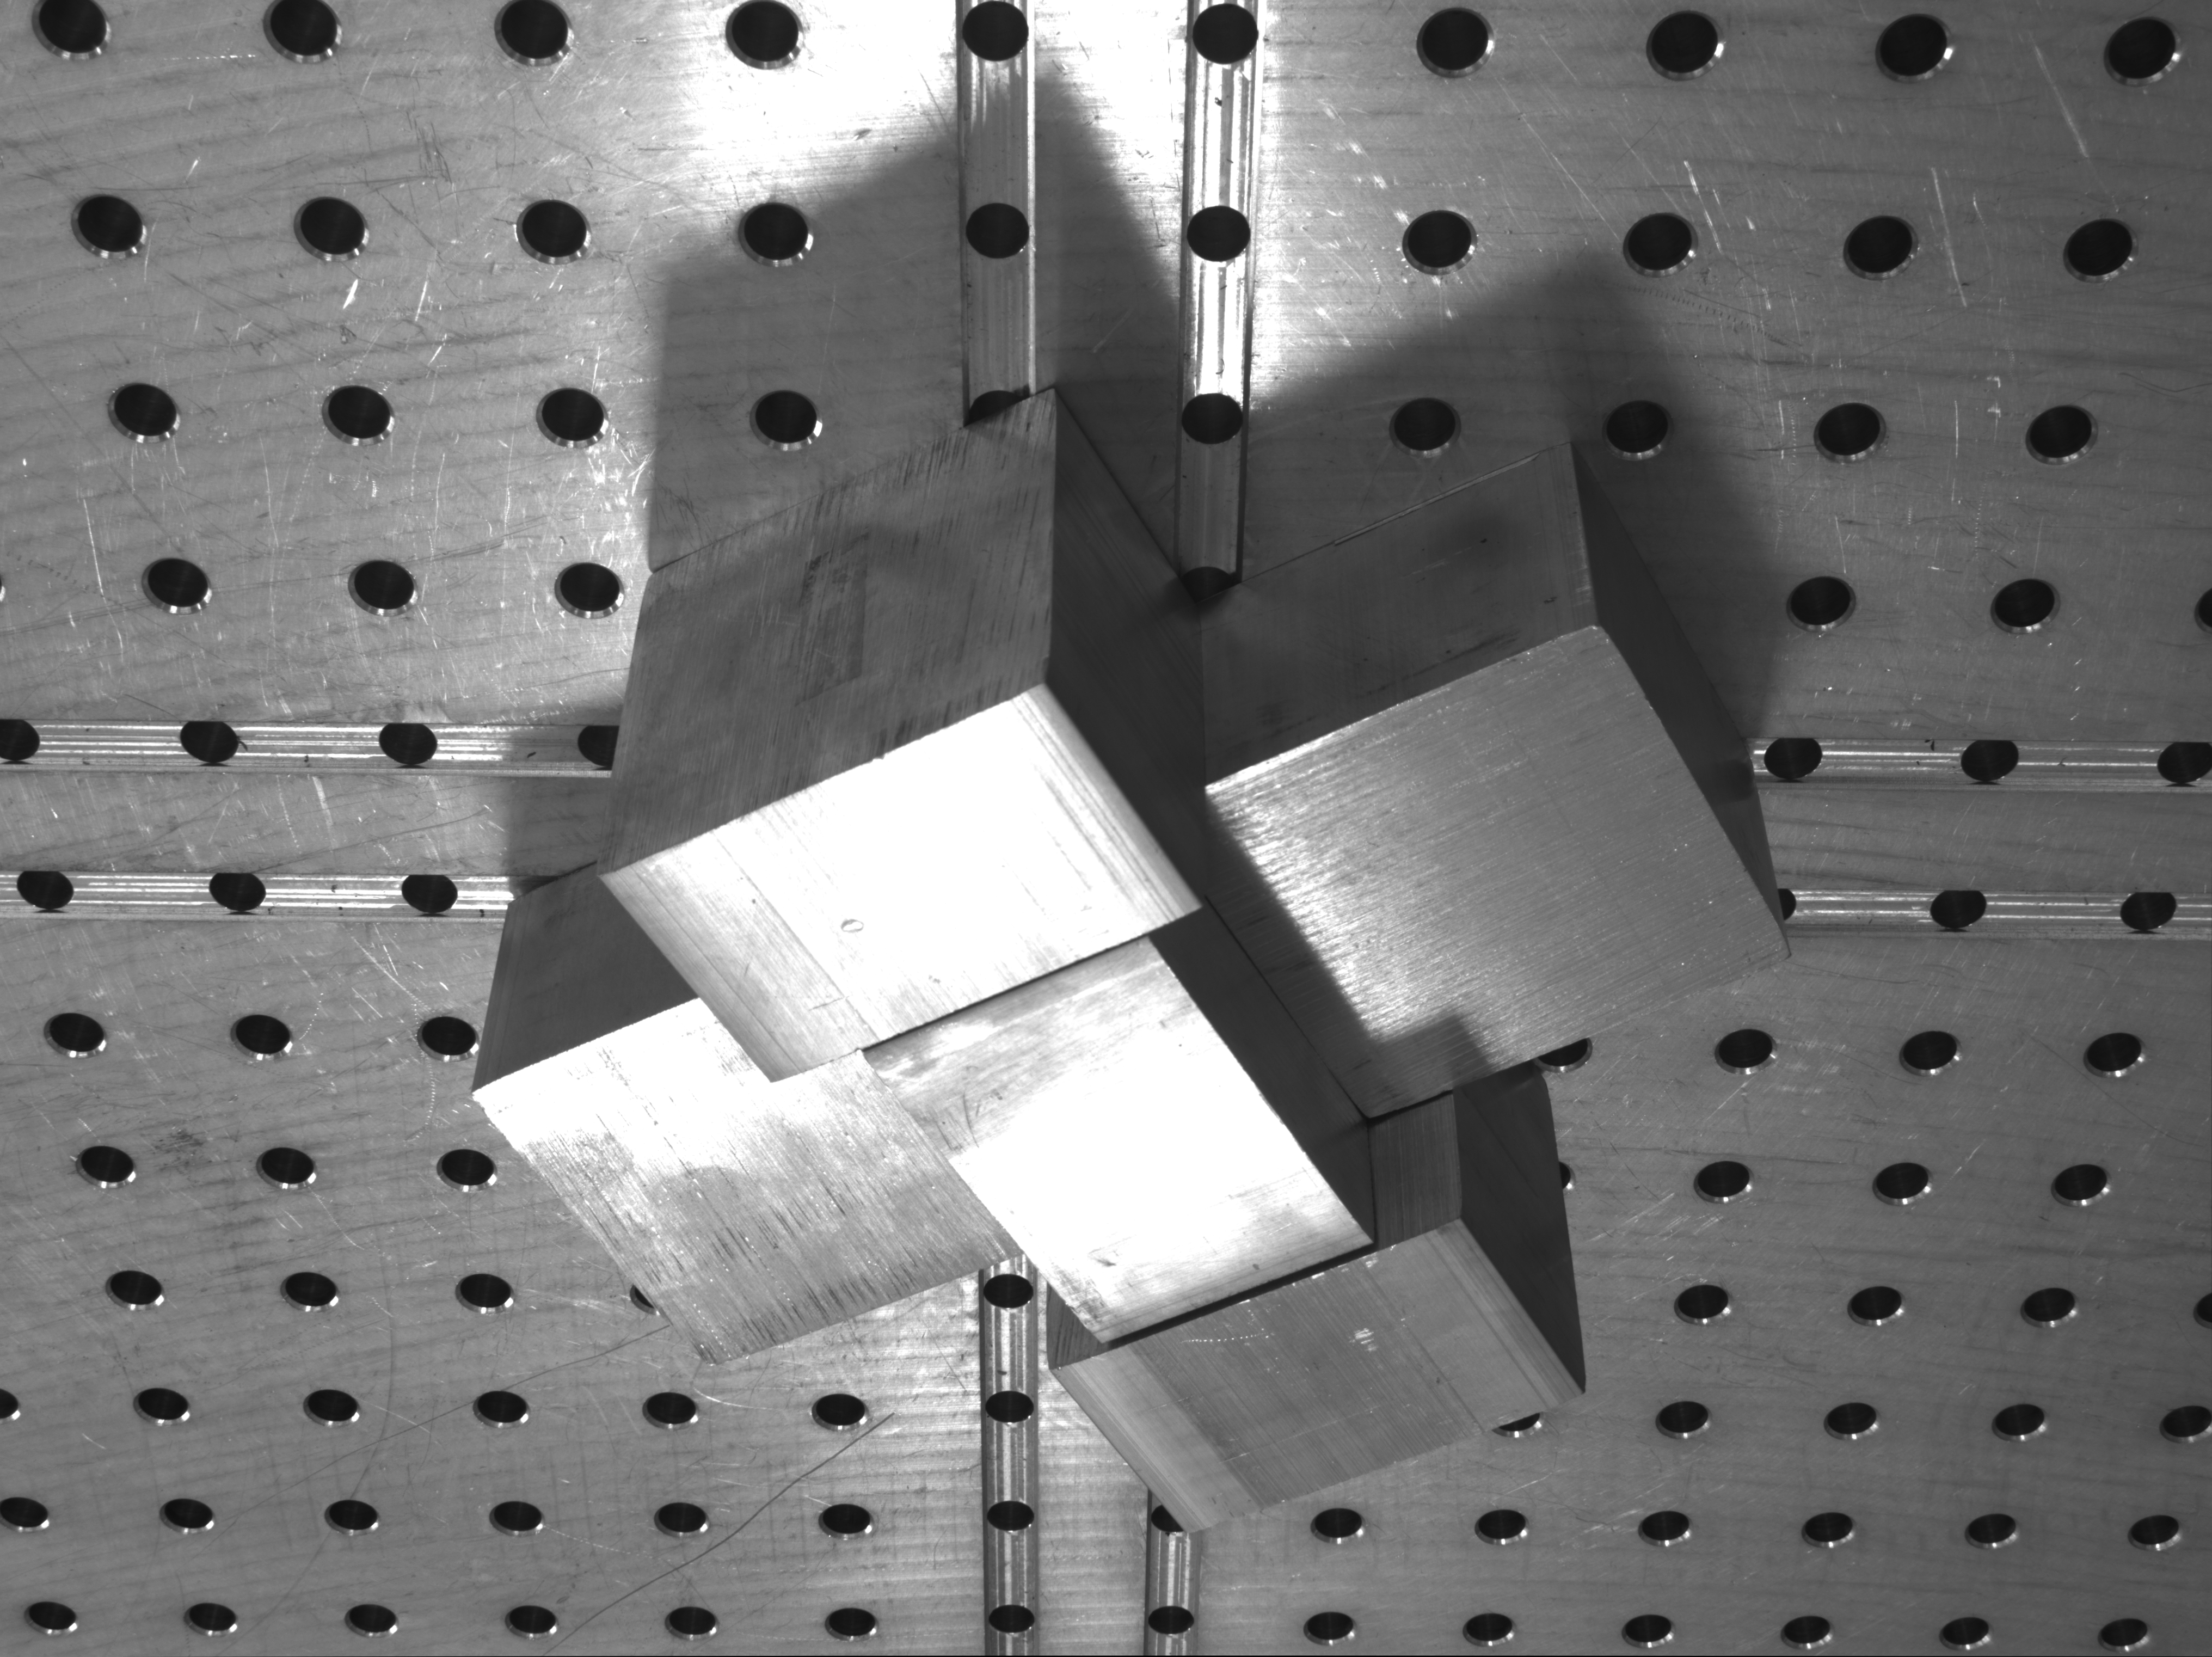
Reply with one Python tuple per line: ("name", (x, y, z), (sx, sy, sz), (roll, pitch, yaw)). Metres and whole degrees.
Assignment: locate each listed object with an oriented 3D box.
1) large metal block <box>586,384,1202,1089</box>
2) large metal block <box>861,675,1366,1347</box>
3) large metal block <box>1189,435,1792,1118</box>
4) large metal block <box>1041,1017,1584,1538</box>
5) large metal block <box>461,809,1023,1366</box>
("large metal block", (-0.032, -0.015, 0.593), (0.080, 0.080, 0.050), (-23, 126, 18))
("large metal block", (0.002, 0.027, 0.630), (0.050, 0.080, 0.080), (-23, 126, 18))
("large metal block", (0.060, -0.007, 0.620), (0.080, 0.050, 0.080), (-23, 128, 18))
("large metal block", (0.036, 0.070, 0.666), (0.080, 0.080, 0.050), (-23, 126, 18))
("large metal block", (-0.057, 0.042, 0.663), (0.080, 0.050, 0.080), (-21, 126, 17))
